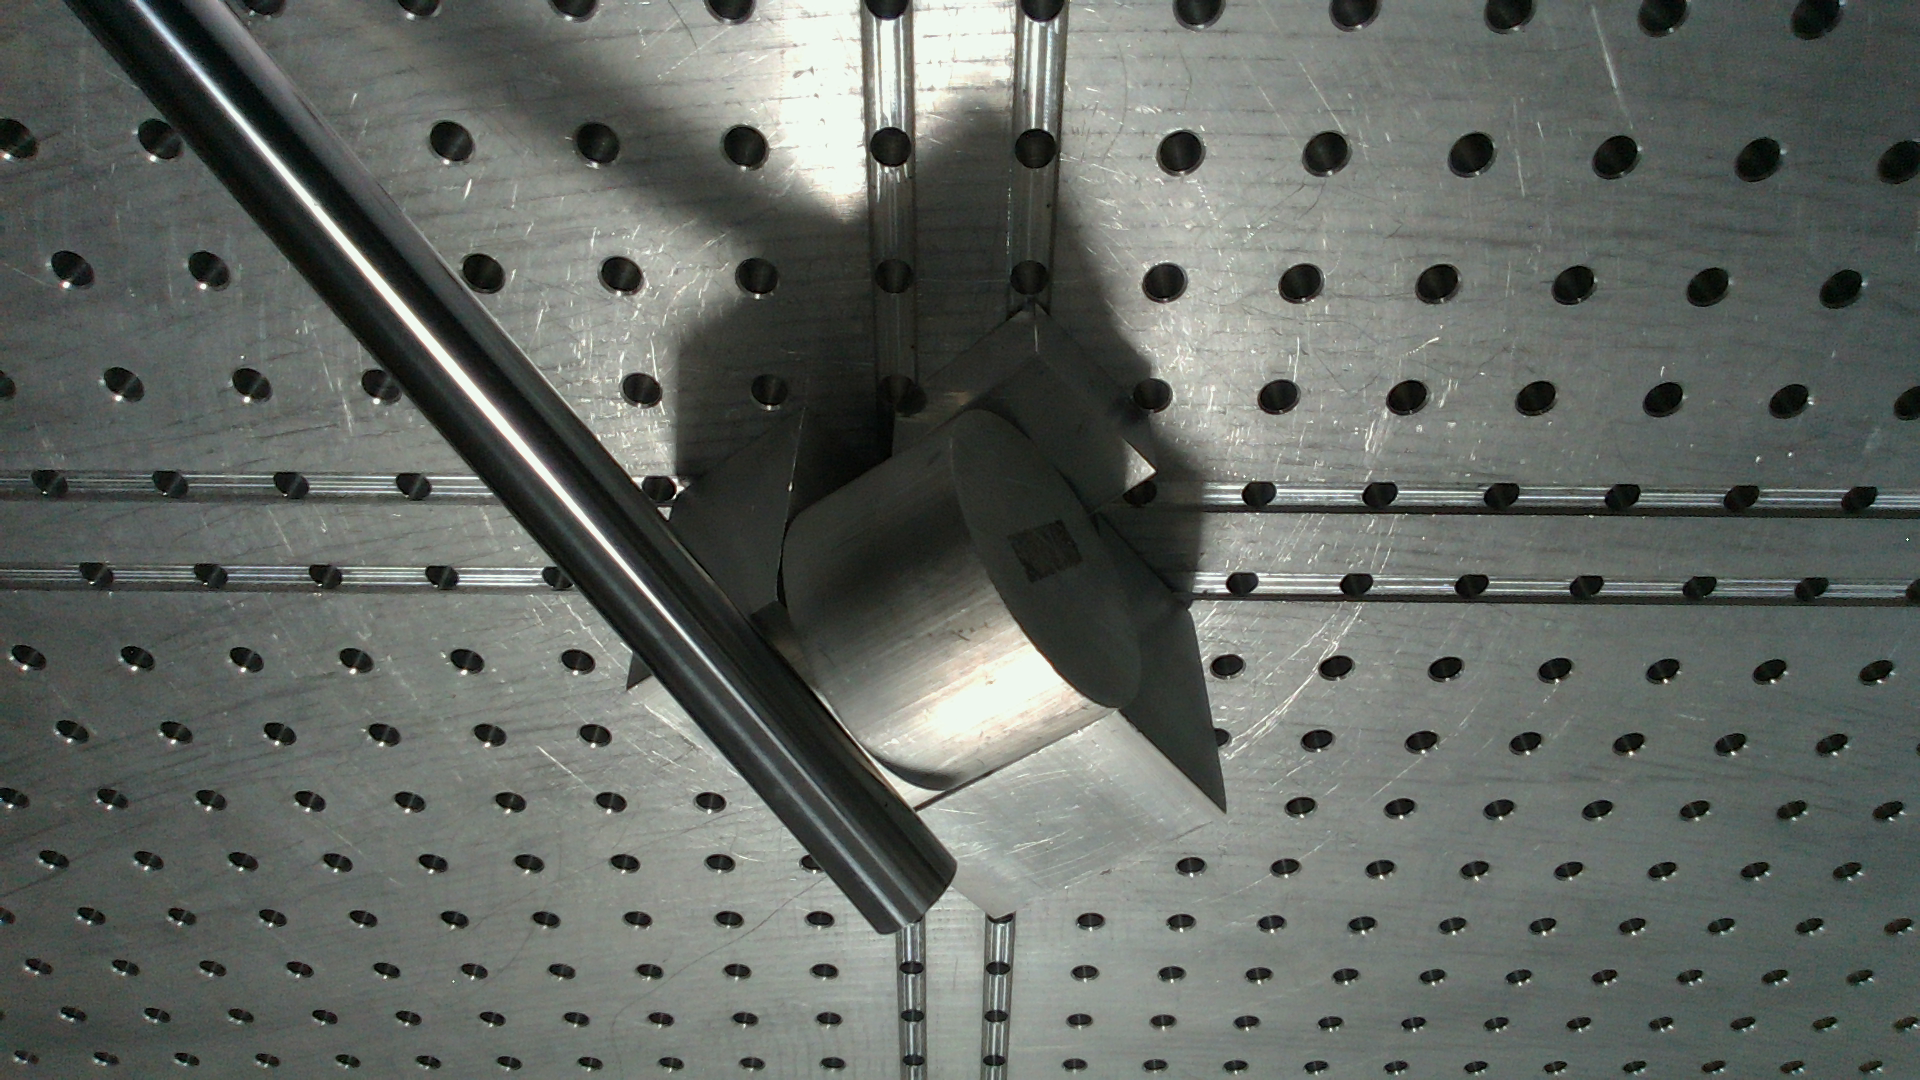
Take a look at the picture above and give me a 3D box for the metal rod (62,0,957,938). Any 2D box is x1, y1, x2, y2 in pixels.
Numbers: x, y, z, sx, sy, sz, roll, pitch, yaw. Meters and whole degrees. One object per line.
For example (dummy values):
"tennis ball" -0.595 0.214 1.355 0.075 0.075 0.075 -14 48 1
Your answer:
"metal rod" -0.103 -0.031 0.299 0.025 0.025 0.300 -34 101 25

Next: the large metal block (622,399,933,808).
"large metal block" -0.038 0.023 0.378 0.050 0.080 0.080 -31 124 23

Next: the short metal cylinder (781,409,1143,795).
"short metal cylinder" 0.002 0.015 0.337 0.050 0.080 0.080 -30 124 23

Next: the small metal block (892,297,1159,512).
"small metal block" 0.017 -0.028 0.371 0.050 0.025 0.050 -34 122 25

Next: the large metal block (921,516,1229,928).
"large metal block" 0.025 0.052 0.400 0.080 0.080 0.050 -31 124 23
